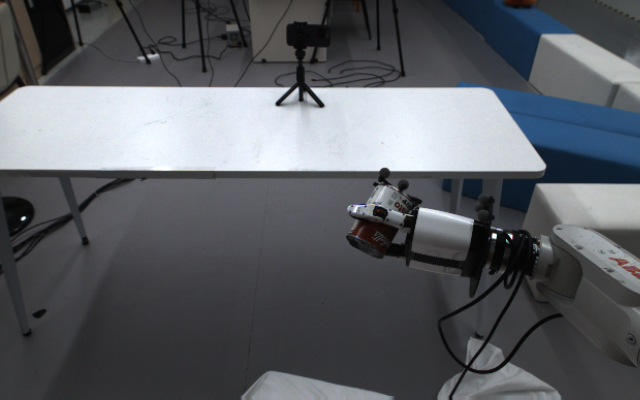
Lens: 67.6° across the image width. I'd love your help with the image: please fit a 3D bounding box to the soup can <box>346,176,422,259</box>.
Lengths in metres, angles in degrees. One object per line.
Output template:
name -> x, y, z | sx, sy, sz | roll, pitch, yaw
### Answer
soup can -> 0.096, 0.032, 0.769 | 0.067, 0.067, 0.101 | 24, 72, 28
